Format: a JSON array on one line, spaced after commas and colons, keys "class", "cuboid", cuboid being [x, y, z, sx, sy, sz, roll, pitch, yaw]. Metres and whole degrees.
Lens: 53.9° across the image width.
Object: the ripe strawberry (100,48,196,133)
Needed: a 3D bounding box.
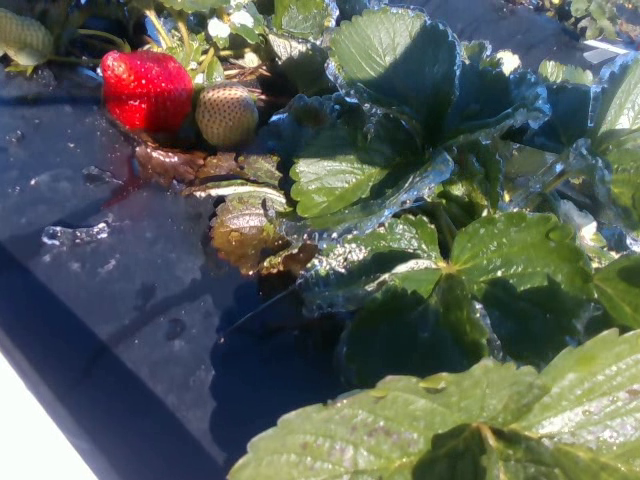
[{"class": "ripe strawberry", "cuboid": [-0.074, -0.062, 0.250, 0.040, 0.042, 0.053, 2, -6, 10]}]
